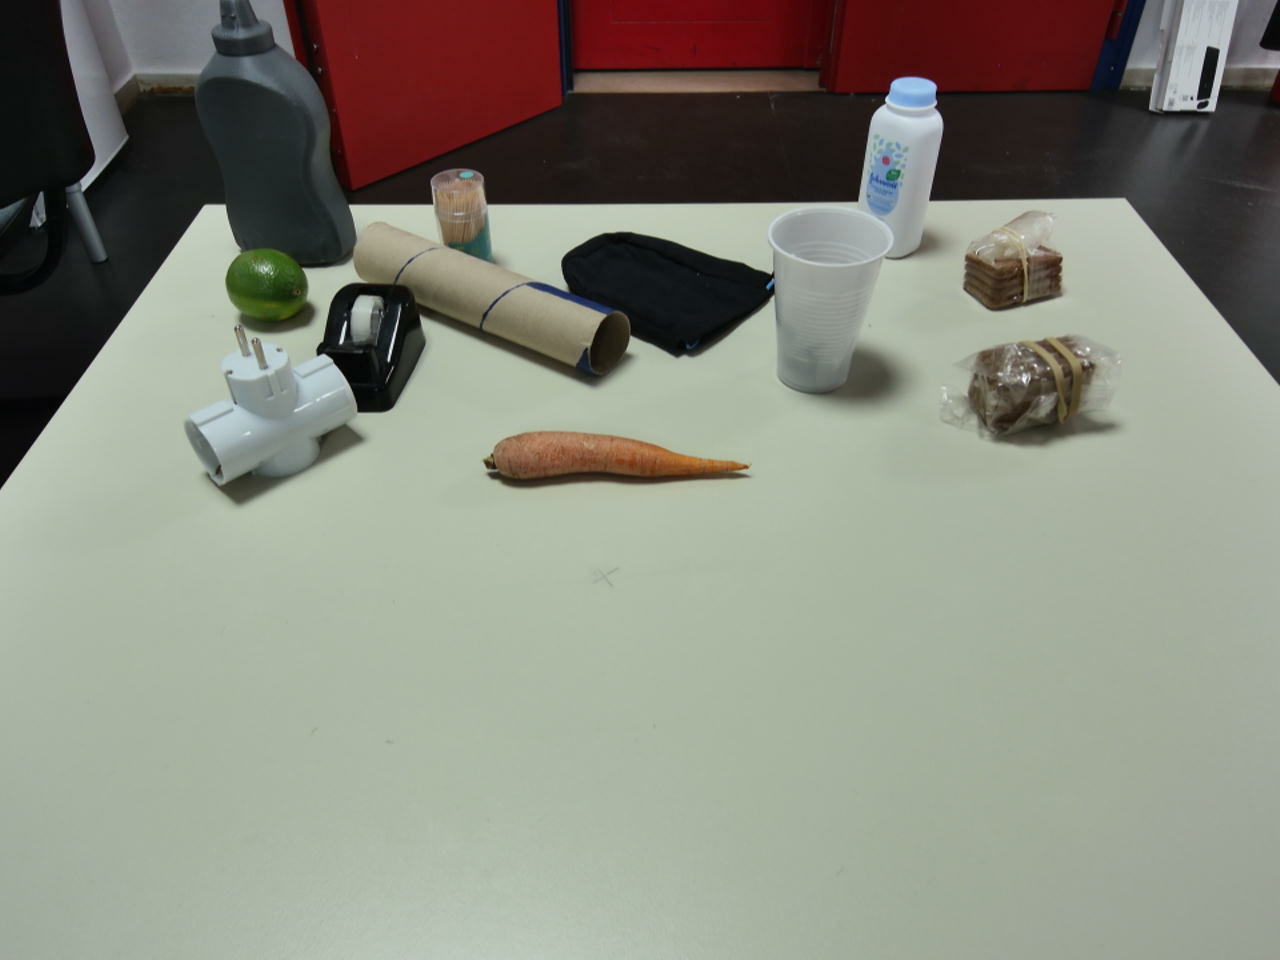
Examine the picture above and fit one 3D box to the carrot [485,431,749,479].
[{"bbox_3d":[-0.014,-0.015,0.619,0.163,0.029,0.031,0,39,0],"label":"carrot"}]
